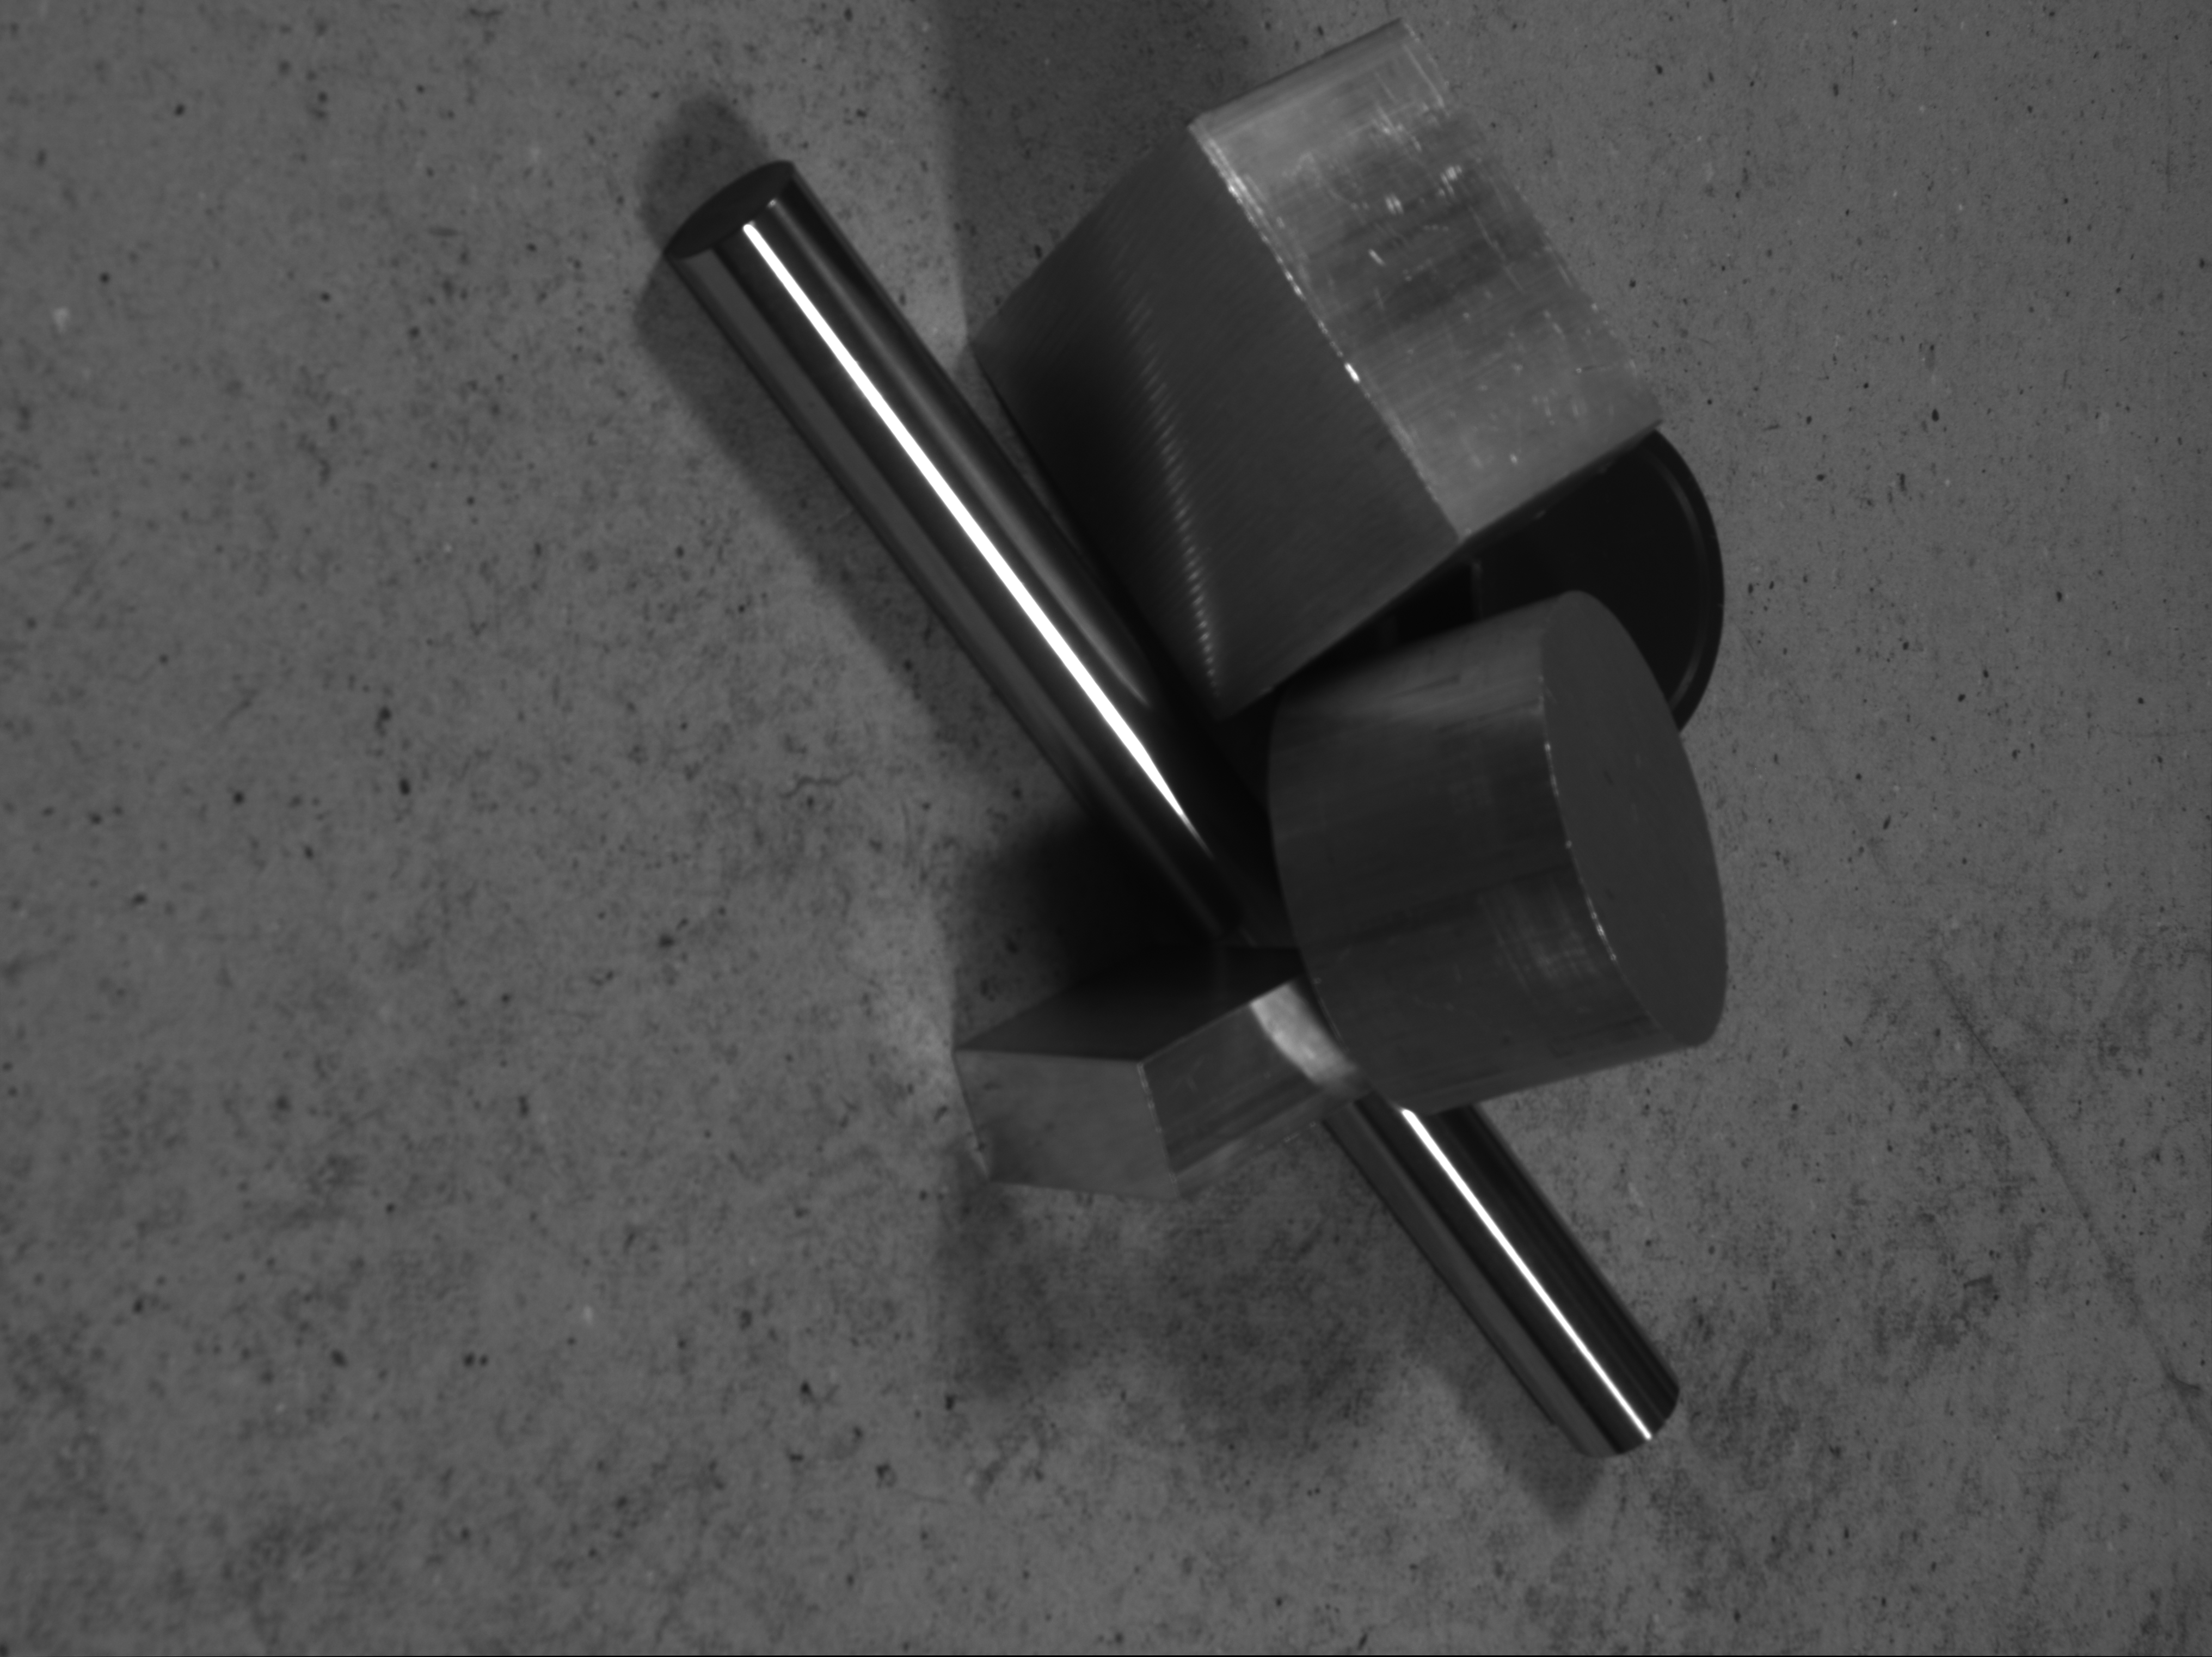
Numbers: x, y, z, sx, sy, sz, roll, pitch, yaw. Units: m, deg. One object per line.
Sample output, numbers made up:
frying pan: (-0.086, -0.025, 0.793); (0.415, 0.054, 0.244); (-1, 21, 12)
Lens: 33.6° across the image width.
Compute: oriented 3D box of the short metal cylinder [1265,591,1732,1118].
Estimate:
short metal cylinder: (0.069, 0.005, 0.630); (0.080, 0.050, 0.080); (42, 39, -46)

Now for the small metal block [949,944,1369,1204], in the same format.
small metal block: (0.010, 0.041, 0.631); (0.050, 0.050, 0.025); (-27, 106, -37)

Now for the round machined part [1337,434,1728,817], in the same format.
round machined part: (0.080, -0.044, 0.692); (0.098, 0.042, 0.098); (0, 90, -40)

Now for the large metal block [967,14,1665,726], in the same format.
large metal block: (0.033, -0.075, 0.616); (0.050, 0.080, 0.080); (-32, 88, -34)

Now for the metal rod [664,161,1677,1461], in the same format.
metal rod: (0.020, 0.008, 0.655); (0.025, 0.025, 0.301); (-52, 120, -27)
